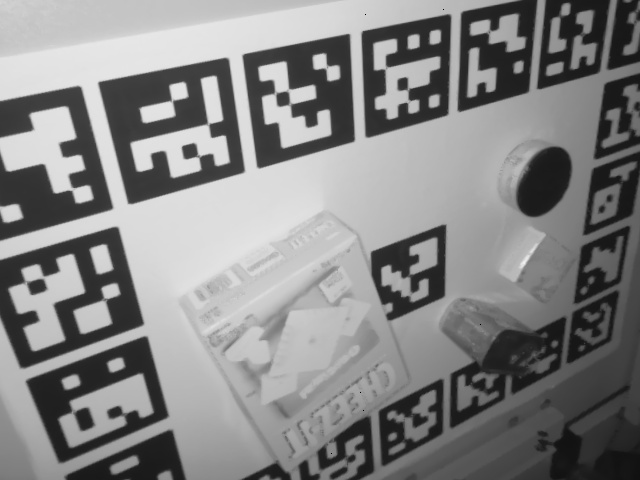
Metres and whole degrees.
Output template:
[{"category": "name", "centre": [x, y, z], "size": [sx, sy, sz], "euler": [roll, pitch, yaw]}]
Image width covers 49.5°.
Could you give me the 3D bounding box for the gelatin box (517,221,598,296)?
[{"category": "gelatin box", "centre": [0.298, 0.028, 0.864], "size": [0.090, 0.030, 0.073], "euler": [27, 102, -34]}]

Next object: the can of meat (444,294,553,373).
[{"category": "can of meat", "centre": [0.211, 0.109, 0.829], "size": [0.103, 0.083, 0.057], "euler": [12, 108, -35]}]

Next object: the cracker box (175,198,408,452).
[{"category": "cracker box", "centre": [-0.017, 0.090, 0.691], "size": [0.165, 0.071, 0.213], "euler": [-32, 127, -11]}]

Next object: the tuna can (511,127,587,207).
[{"category": "tuna can", "centre": [0.256, -0.083, 0.778], "size": [0.087, 0.033, 0.085], "euler": [-12, 116, -25]}]
